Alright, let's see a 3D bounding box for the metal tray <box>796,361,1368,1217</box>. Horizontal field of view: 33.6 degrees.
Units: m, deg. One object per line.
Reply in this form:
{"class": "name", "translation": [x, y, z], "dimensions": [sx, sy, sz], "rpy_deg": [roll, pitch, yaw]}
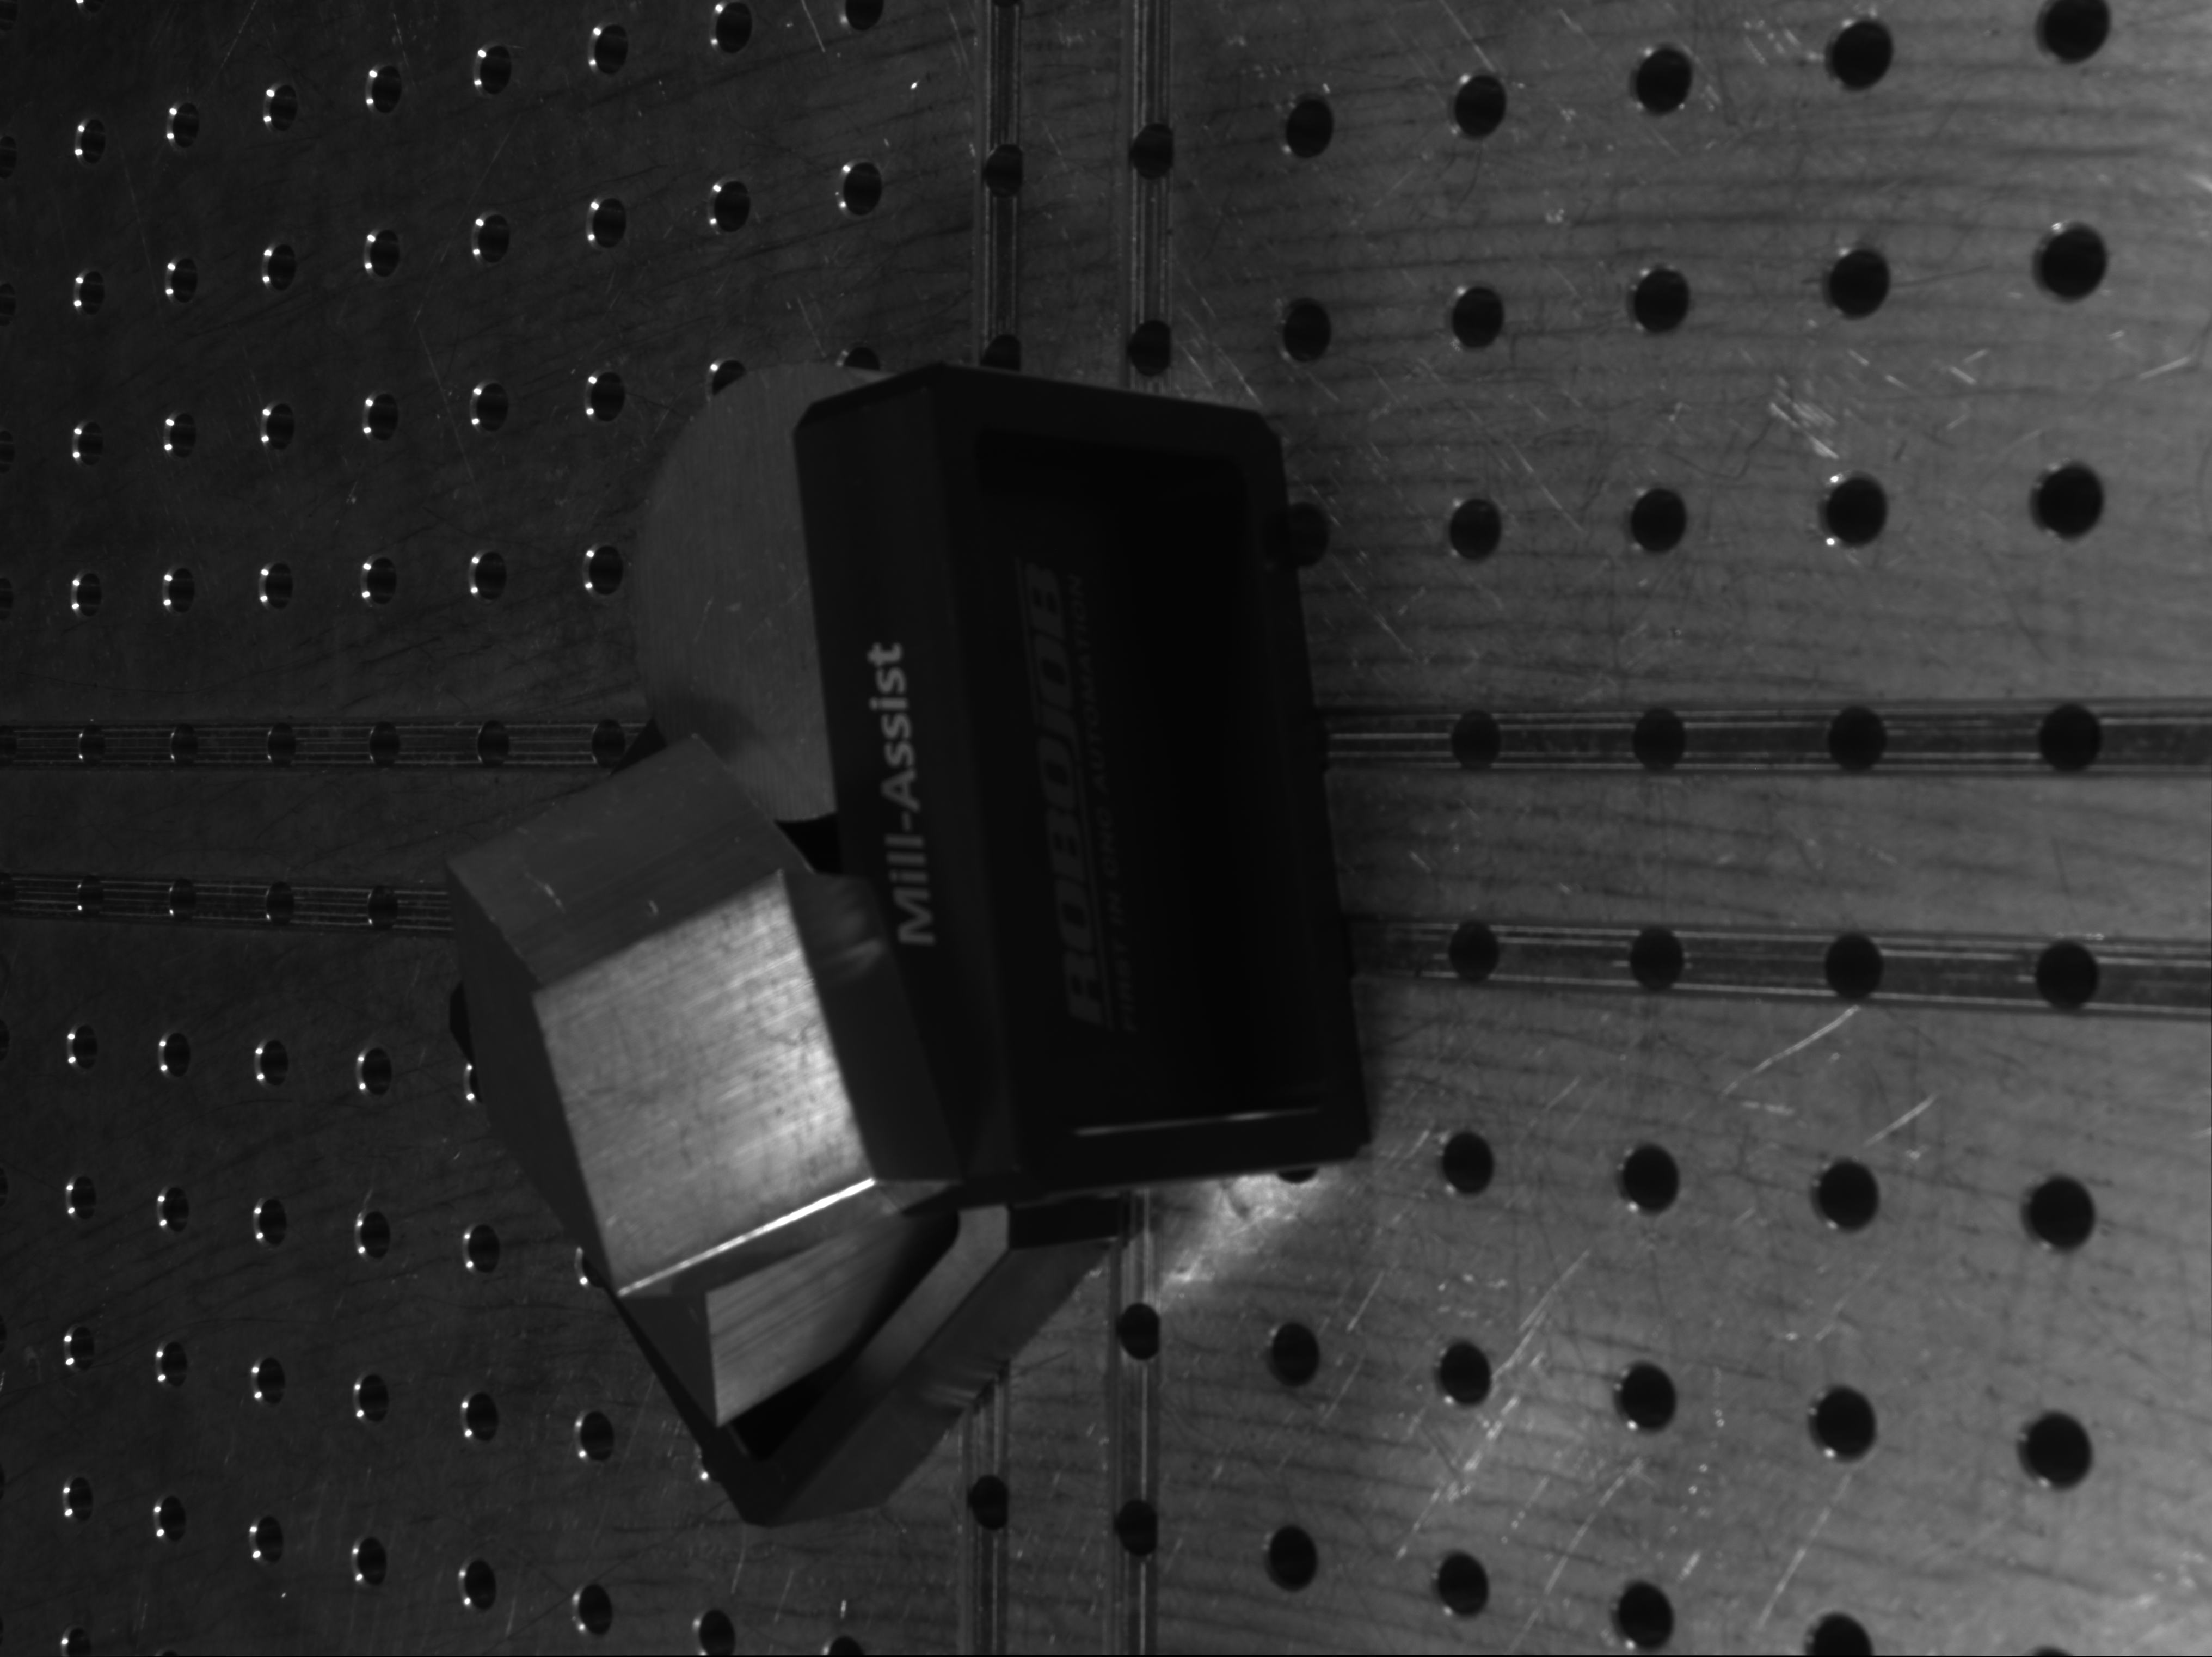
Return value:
{"class": "metal tray", "translation": [-0.002, -0.006, 0.599], "dimensions": [0.030, 0.090, 0.130], "rpy_deg": [-12, 82, 39]}

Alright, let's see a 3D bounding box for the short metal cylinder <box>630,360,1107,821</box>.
{"class": "short metal cylinder", "translation": [-0.039, -0.041, 0.655], "dimensions": [0.080, 0.050, 0.080], "rpy_deg": [0, 90, 39]}

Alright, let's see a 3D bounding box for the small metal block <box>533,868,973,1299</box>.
{"class": "small metal block", "translation": [-0.054, 0.040, 0.562], "dimensions": [0.050, 0.025, 0.050], "rpy_deg": [-26, 74, 25]}

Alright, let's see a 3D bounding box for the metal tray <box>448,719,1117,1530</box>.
{"class": "metal tray", "translation": [-0.064, 0.053, 0.687], "dimensions": [0.090, 0.030, 0.130], "rpy_deg": [-50, 61, 27]}

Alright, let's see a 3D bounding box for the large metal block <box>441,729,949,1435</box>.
{"class": "large metal block", "translation": [-0.070, 0.044, 0.640], "dimensions": [0.080, 0.050, 0.080], "rpy_deg": [47, 153, 29]}
